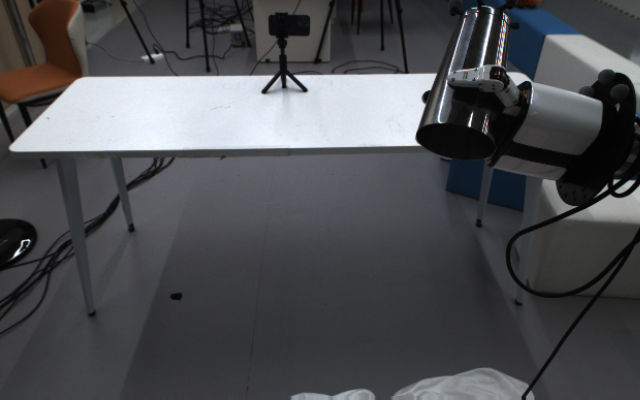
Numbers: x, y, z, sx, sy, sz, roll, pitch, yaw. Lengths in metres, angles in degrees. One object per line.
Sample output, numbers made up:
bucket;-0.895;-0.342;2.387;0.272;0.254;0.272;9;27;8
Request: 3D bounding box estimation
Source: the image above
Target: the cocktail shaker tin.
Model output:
cocktail shaker tin;0.183;-0.144;0.588;0.093;0.093;0.170;13;74;15
